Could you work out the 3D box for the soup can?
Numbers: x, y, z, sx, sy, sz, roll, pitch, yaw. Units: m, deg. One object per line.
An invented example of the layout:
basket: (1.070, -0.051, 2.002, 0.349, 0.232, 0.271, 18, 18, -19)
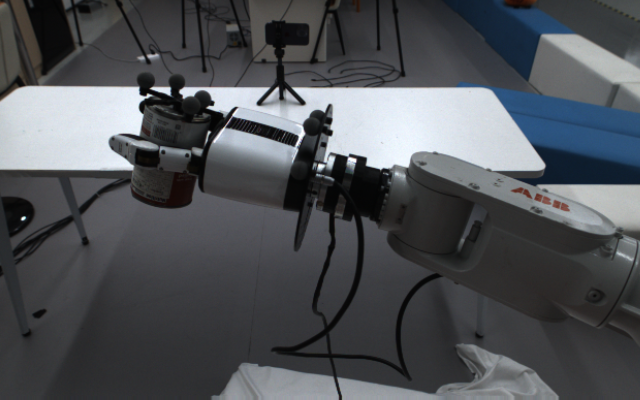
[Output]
soup can: (-0.159, -0.051, 0.516, 0.067, 0.101, 0.067, 17, 22, -7)
